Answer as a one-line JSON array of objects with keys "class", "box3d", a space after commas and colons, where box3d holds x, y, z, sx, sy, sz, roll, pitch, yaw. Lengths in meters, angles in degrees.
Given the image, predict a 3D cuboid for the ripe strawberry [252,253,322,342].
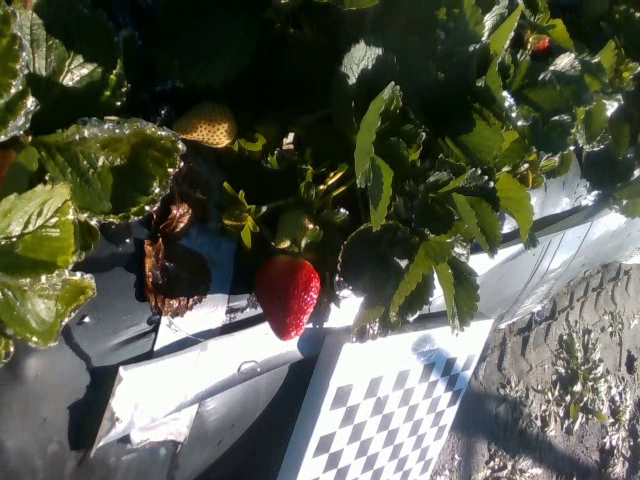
[{"class": "ripe strawberry", "box3d": [-0.021, 0.050, 0.452, 0.057, 0.065, 0.062, -14, -35, 16]}]
